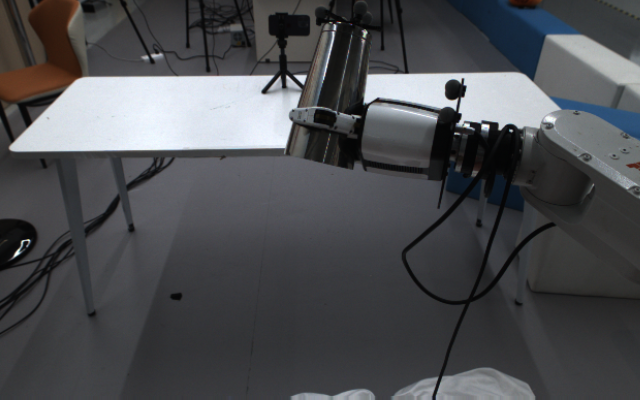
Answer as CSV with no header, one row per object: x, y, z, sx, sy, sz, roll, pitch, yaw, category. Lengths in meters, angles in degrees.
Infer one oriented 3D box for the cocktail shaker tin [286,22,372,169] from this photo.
0.016,-0.132,0.621,0.093,0.170,0.093,13,4,-1,cocktail shaker tin
